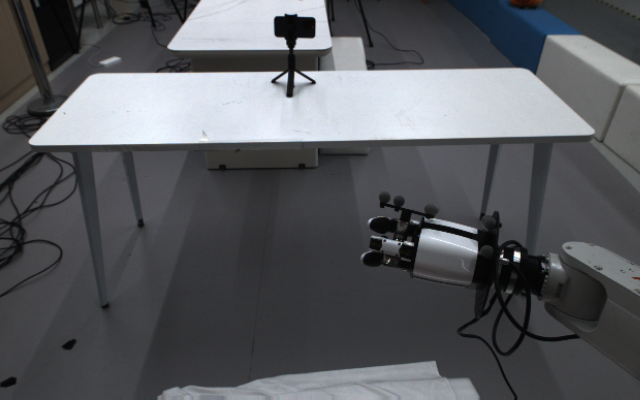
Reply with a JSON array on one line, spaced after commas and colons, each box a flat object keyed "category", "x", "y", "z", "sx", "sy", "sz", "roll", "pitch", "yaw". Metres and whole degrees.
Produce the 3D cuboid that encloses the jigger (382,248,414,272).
[{"category": "jigger", "x": 0.123, "y": 0.065, "z": 0.738, "sx": 0.043, "sy": 0.071, "sz": 0.043, "roll": 14, "pitch": 1, "yaw": 0}]
